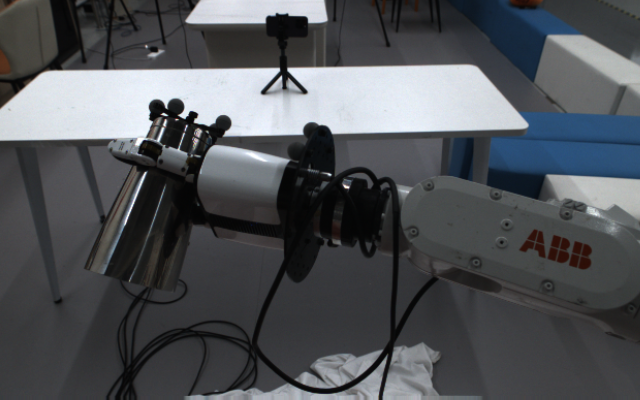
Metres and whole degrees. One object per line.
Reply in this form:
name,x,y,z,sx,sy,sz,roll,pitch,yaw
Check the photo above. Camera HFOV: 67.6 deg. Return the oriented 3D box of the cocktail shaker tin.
cocktail shaker tin,-0.170,0.001,0.514,0.093,0.093,0.170,13,77,15
